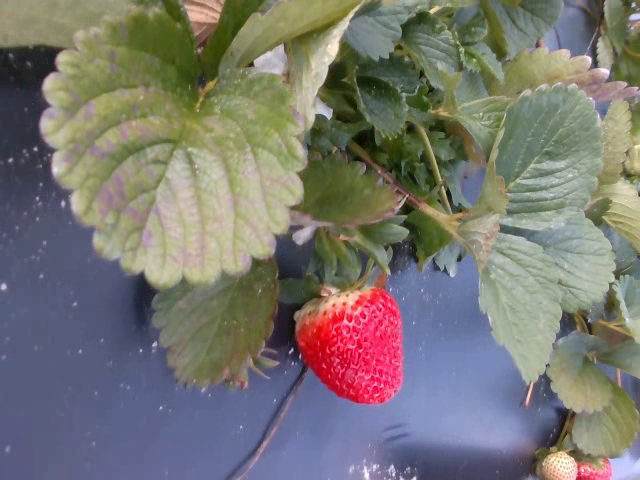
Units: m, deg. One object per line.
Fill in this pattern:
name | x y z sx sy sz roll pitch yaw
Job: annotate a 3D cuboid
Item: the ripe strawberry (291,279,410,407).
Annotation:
ripe strawberry | 0.015 0.048 0.249 0.049 0.053 0.050 -37 -34 27
